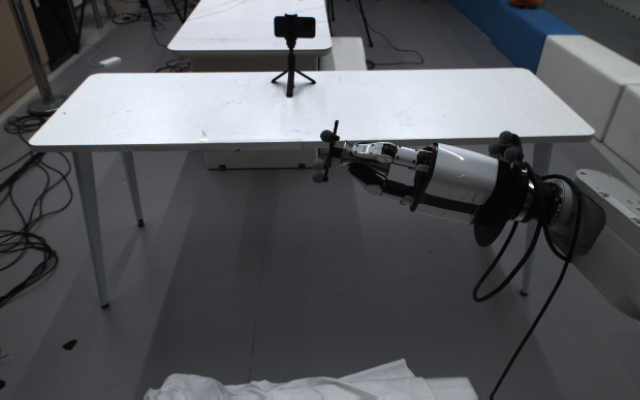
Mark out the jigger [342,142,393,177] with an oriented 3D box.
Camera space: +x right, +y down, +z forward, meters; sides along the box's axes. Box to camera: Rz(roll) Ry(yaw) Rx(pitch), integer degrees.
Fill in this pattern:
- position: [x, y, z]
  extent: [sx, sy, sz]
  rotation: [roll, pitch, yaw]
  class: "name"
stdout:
- position: [0.071, -0.061, 0.681]
  extent: [0.071, 0.043, 0.043]
  rotation: [13, 36, 4]
  class: "jigger"
